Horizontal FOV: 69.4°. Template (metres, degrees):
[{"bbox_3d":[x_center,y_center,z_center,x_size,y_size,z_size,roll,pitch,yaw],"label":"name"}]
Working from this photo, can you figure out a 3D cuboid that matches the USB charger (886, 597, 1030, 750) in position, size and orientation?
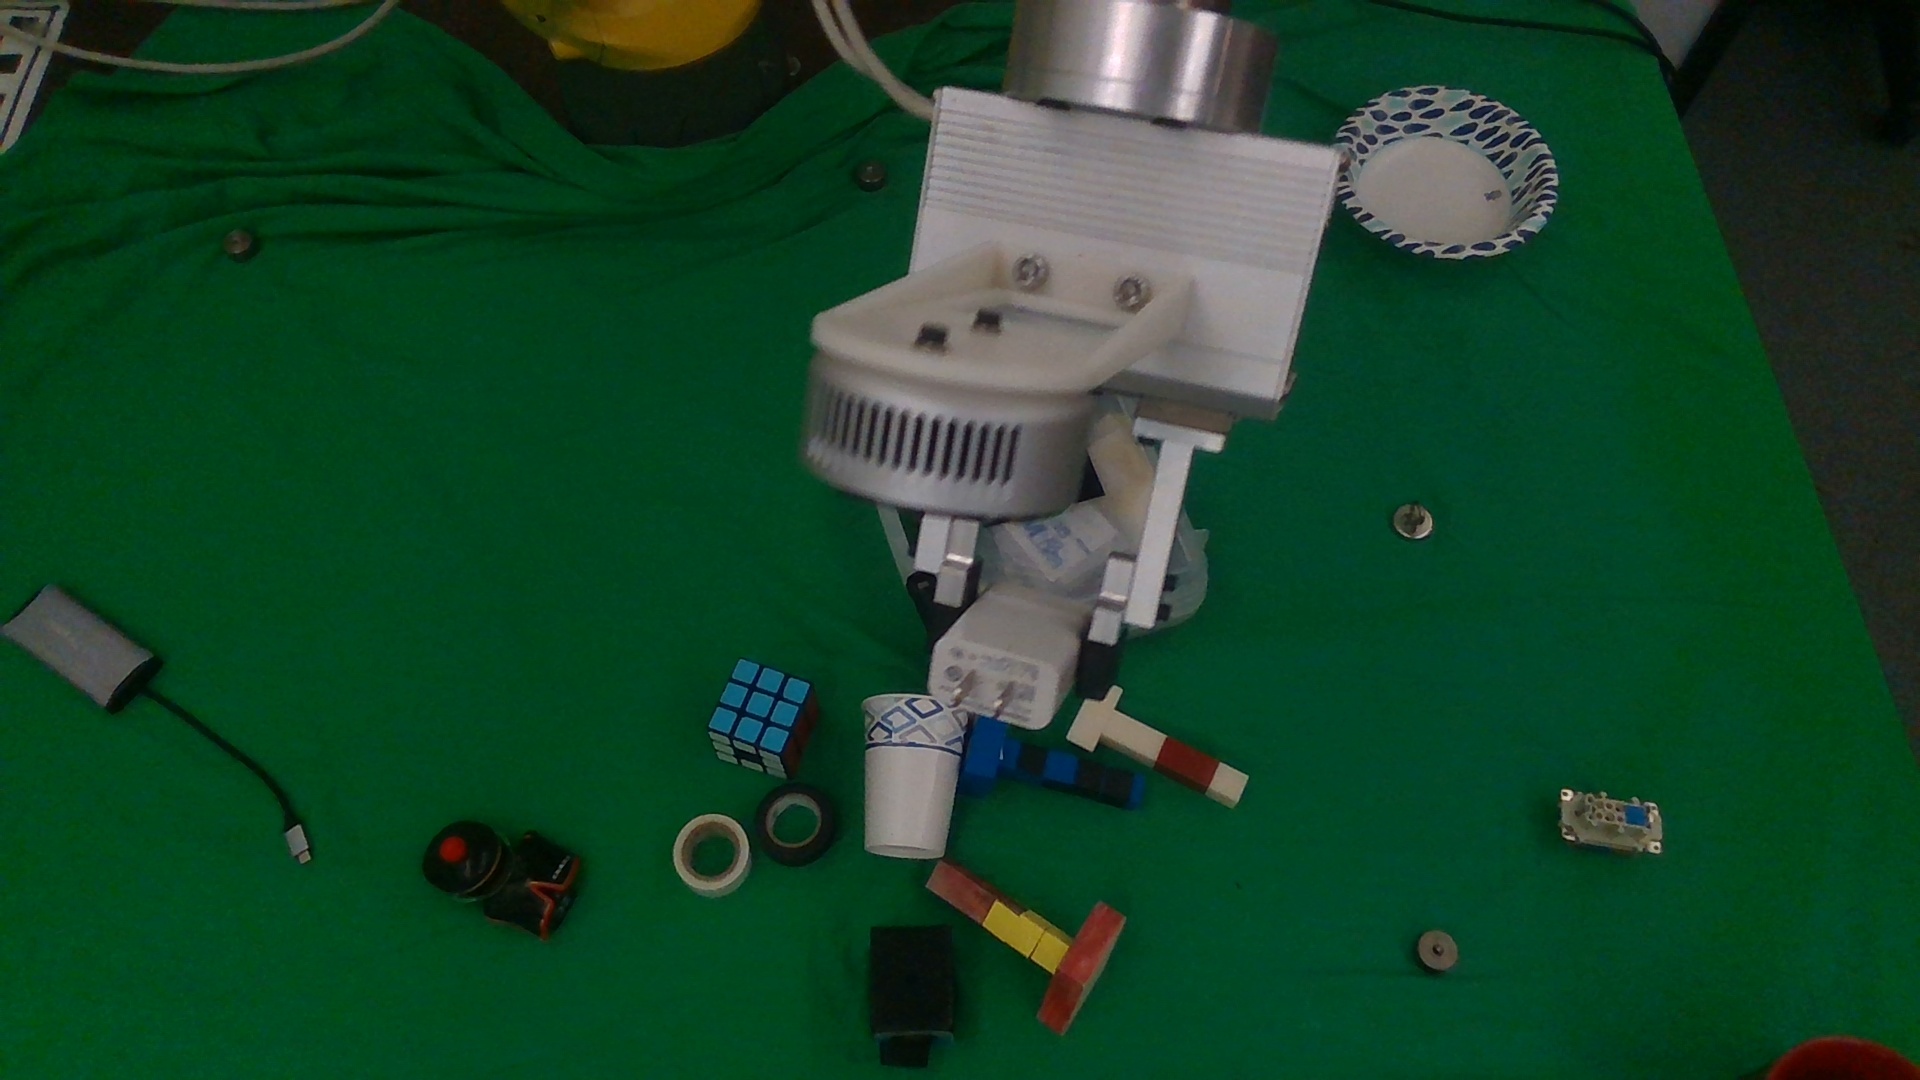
[{"bbox_3d":[0.000,0.042,0.433,0.045,0.075,0.029,19,103,-2],"label":"USB charger"}]

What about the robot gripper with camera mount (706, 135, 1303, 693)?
[{"bbox_3d":[0.000,-0.014,0.357,0.119,0.193,0.158,19,107,13],"label":"robot gripper with camera mount"}]
